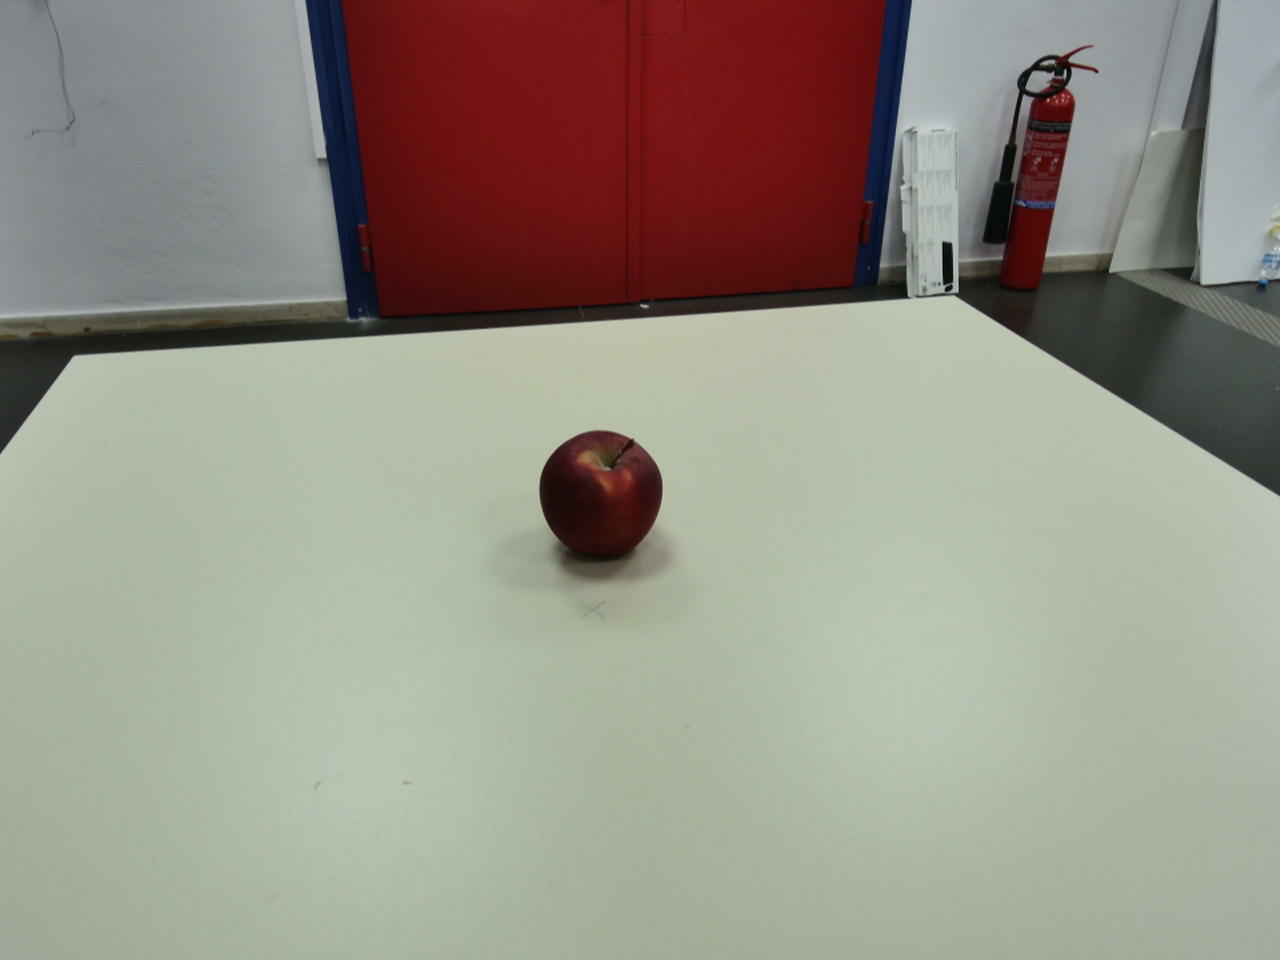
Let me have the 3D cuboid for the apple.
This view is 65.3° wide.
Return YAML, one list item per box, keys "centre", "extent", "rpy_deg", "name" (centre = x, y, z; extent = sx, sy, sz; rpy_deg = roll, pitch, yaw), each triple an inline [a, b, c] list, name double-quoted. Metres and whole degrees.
- centre: [-0.022, 0.008, 0.561]
  extent: [0.070, 0.072, 0.070]
  rpy_deg: [1, 27, 0]
  name: "apple"
